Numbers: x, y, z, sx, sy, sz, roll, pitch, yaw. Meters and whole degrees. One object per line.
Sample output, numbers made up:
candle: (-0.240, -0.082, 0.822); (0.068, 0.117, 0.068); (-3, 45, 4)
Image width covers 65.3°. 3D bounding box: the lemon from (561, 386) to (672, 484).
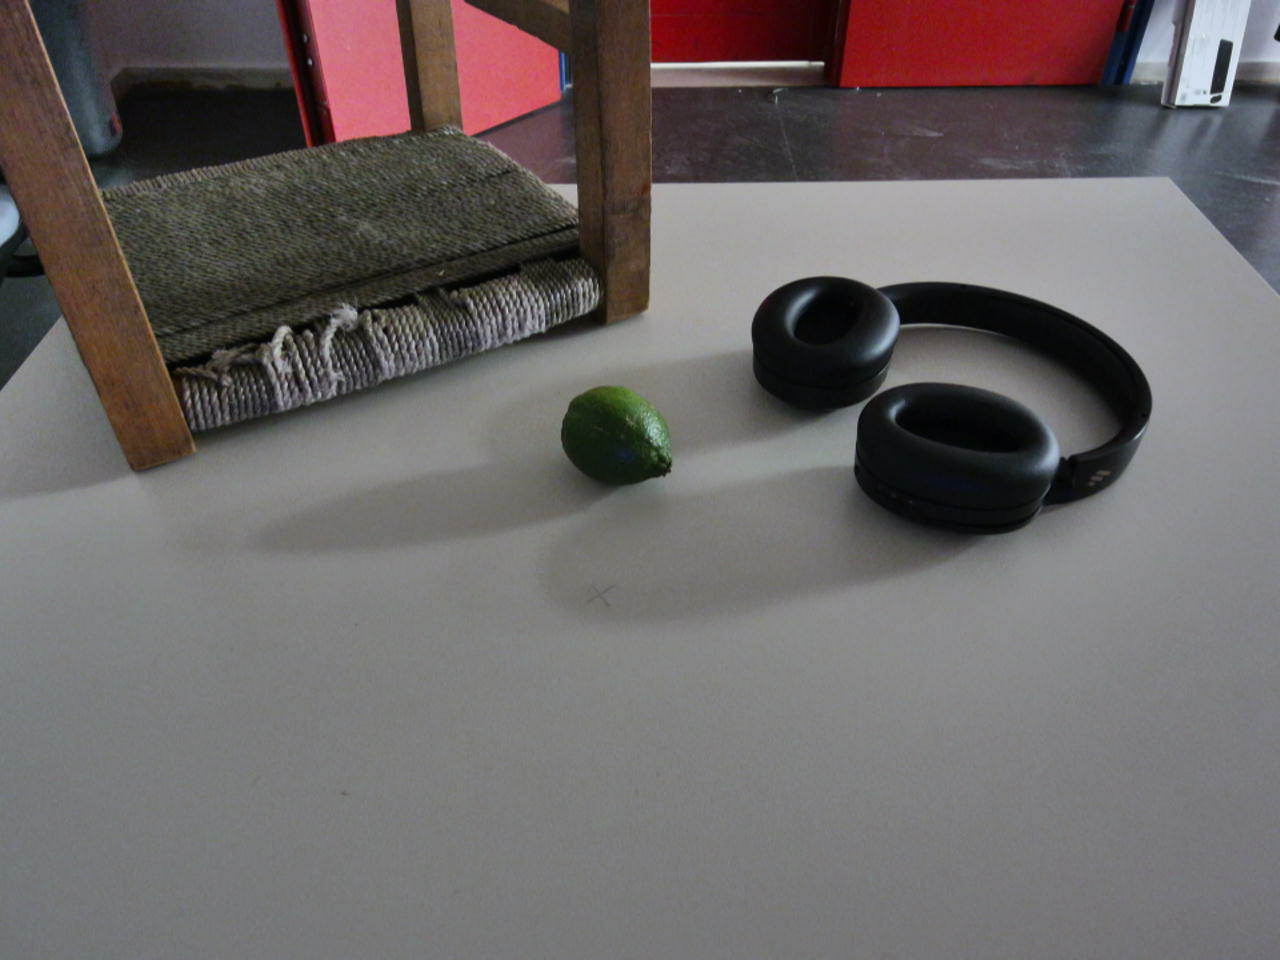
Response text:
lemon: (-0.013, -0.024, 0.532); (0.057, 0.051, 0.054); (-3, 39, -3)
